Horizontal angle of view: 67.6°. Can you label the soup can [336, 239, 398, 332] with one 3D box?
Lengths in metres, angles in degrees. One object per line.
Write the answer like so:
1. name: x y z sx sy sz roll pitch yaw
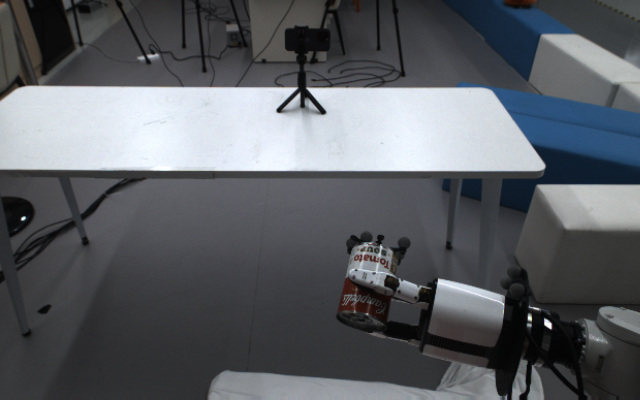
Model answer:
1. soup can: 0.067 0.115 0.651 0.067 0.067 0.101 9 61 10
